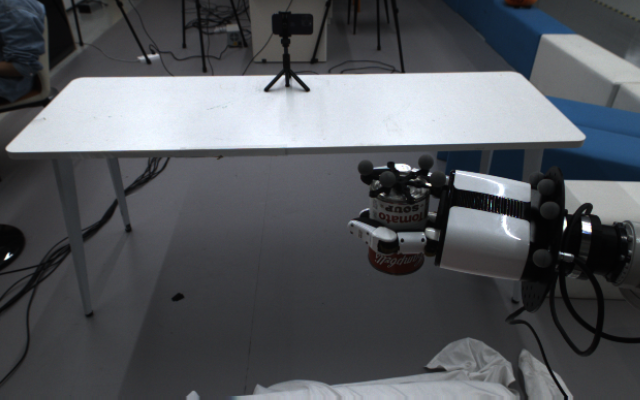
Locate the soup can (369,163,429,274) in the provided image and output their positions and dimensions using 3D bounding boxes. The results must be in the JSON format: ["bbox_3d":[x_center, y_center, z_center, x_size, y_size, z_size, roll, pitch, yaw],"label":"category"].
[{"bbox_3d":[0.092,0.026,0.559,0.067,0.101,0.067,-2,33,1],"label":"soup can"}]
